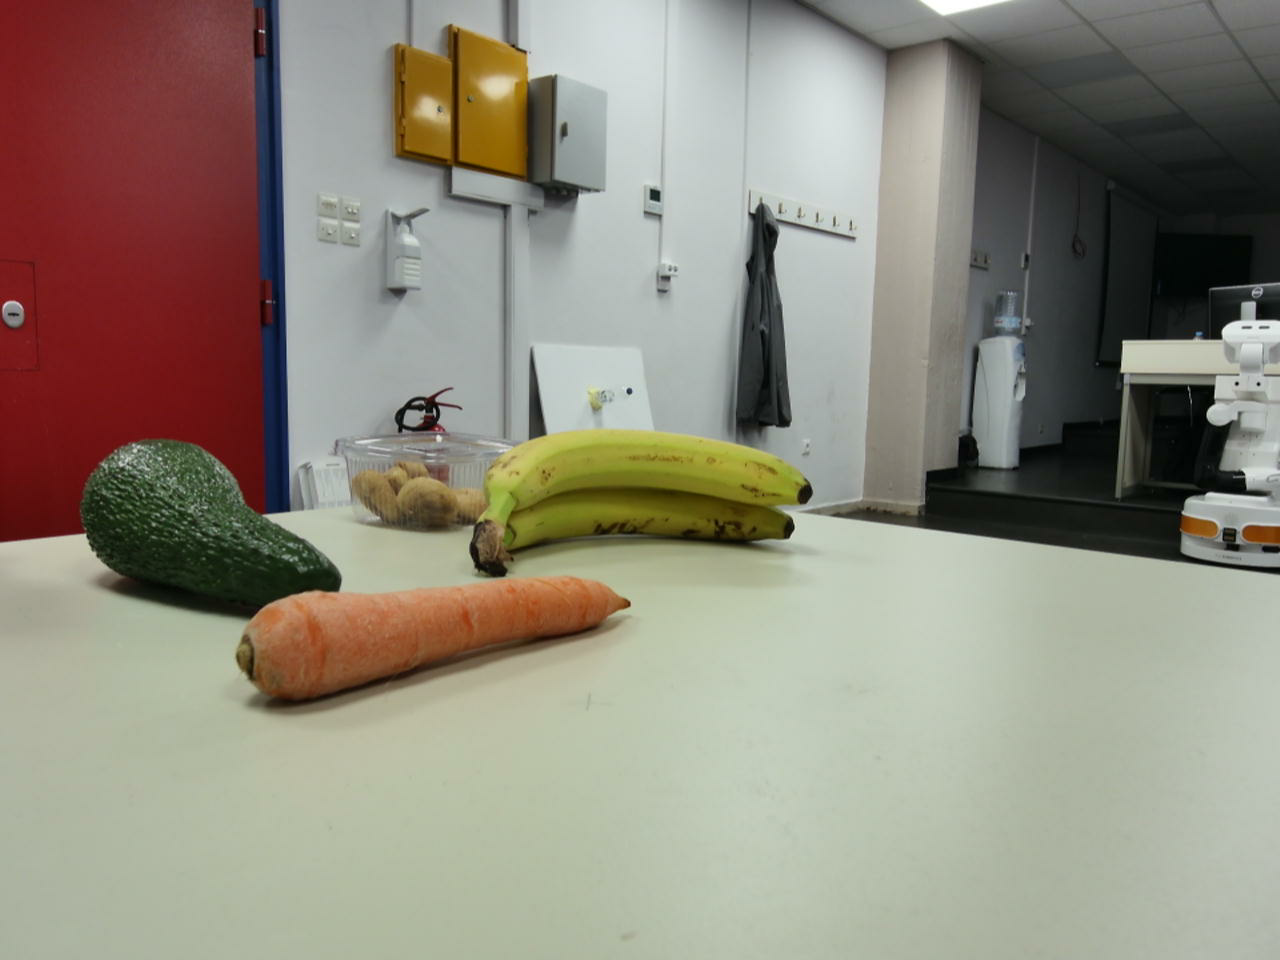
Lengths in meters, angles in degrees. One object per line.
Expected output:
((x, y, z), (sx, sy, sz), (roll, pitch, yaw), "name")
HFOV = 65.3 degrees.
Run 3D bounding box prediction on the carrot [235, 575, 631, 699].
((-0.074, 0.056, 0.423), (0.039, 0.041, 0.196), (4, 7, 41), "carrot")
